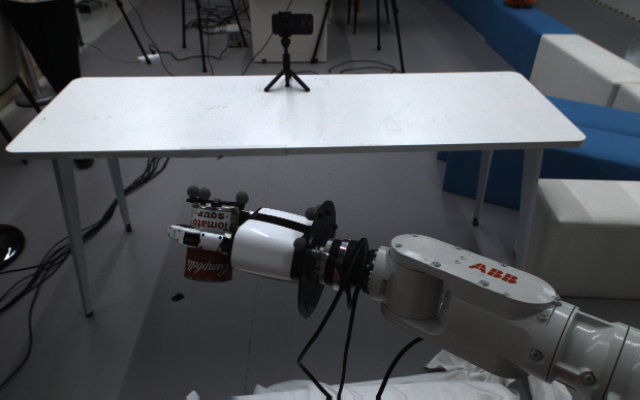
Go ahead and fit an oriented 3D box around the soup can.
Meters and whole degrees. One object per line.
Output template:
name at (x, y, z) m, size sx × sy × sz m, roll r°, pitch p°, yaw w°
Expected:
soup can at (-0.151, 0.060, 0.677) m, size 0.067 × 0.101 × 0.067 m, roll 7°, pitch 3°, yaw 0°
